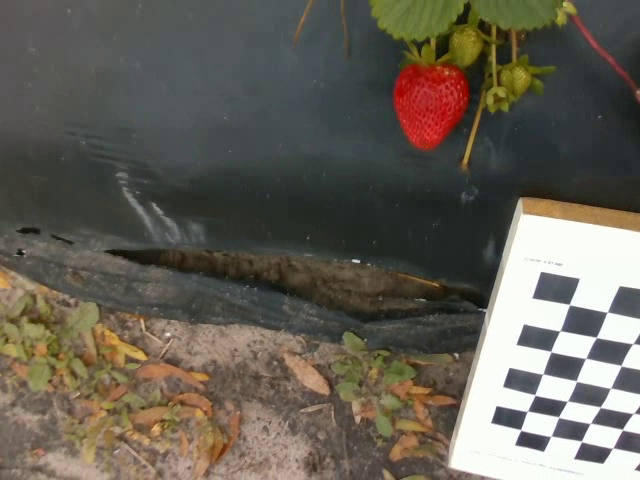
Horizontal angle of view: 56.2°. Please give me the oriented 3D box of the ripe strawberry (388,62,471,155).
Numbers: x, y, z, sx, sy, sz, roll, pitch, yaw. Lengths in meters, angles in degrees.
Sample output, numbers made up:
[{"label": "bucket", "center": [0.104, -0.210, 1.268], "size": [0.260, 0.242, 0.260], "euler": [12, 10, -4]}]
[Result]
[{"label": "ripe strawberry", "center": [0.018, -0.021, 0.098], "size": [0.018, 0.017, 0.014], "euler": [7, -4, -2]}]
